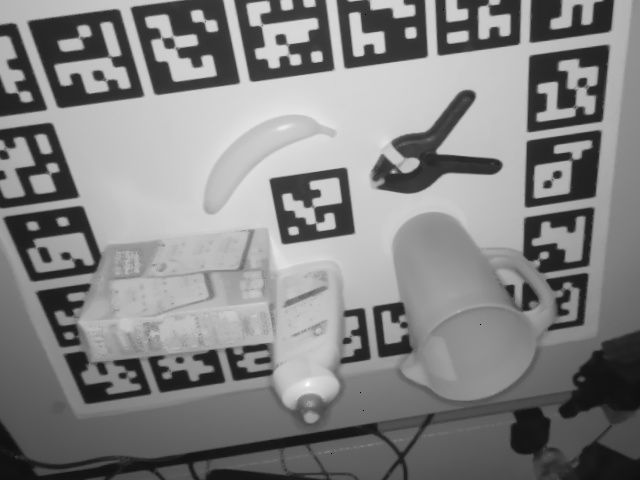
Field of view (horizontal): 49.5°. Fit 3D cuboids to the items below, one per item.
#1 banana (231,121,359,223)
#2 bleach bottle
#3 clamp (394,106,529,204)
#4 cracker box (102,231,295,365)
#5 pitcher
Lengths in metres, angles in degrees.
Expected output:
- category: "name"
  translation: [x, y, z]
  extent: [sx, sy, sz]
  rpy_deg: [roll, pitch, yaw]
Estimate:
- category: "banana"
  translation: [-0.048, -0.092, 0.872]
  extent: [0.195, 0.039, 0.074]
  rpy_deg: [-36, 118, 15]
- category: "bleach bottle"
  translation: [0.020, 0.128, 0.877]
  extent: [0.103, 0.252, 0.067]
  rpy_deg: [-6, 122, -1]
- category: "clamp"
  translation: [0.174, -0.092, 0.885]
  extent: [0.164, 0.037, 0.121]
  rpy_deg: [-20, 122, 8]
- category: "cracker box"
  translation: [-0.142, 0.068, 0.858]
  extent: [0.214, 0.165, 0.071]
  rpy_deg: [-5, 124, -4]
- category: "pitcher"
  translation: [0.204, 0.083, 0.847]
  extent: [0.188, 0.244, 0.133]
  rpy_deg: [-21, 121, 11]
